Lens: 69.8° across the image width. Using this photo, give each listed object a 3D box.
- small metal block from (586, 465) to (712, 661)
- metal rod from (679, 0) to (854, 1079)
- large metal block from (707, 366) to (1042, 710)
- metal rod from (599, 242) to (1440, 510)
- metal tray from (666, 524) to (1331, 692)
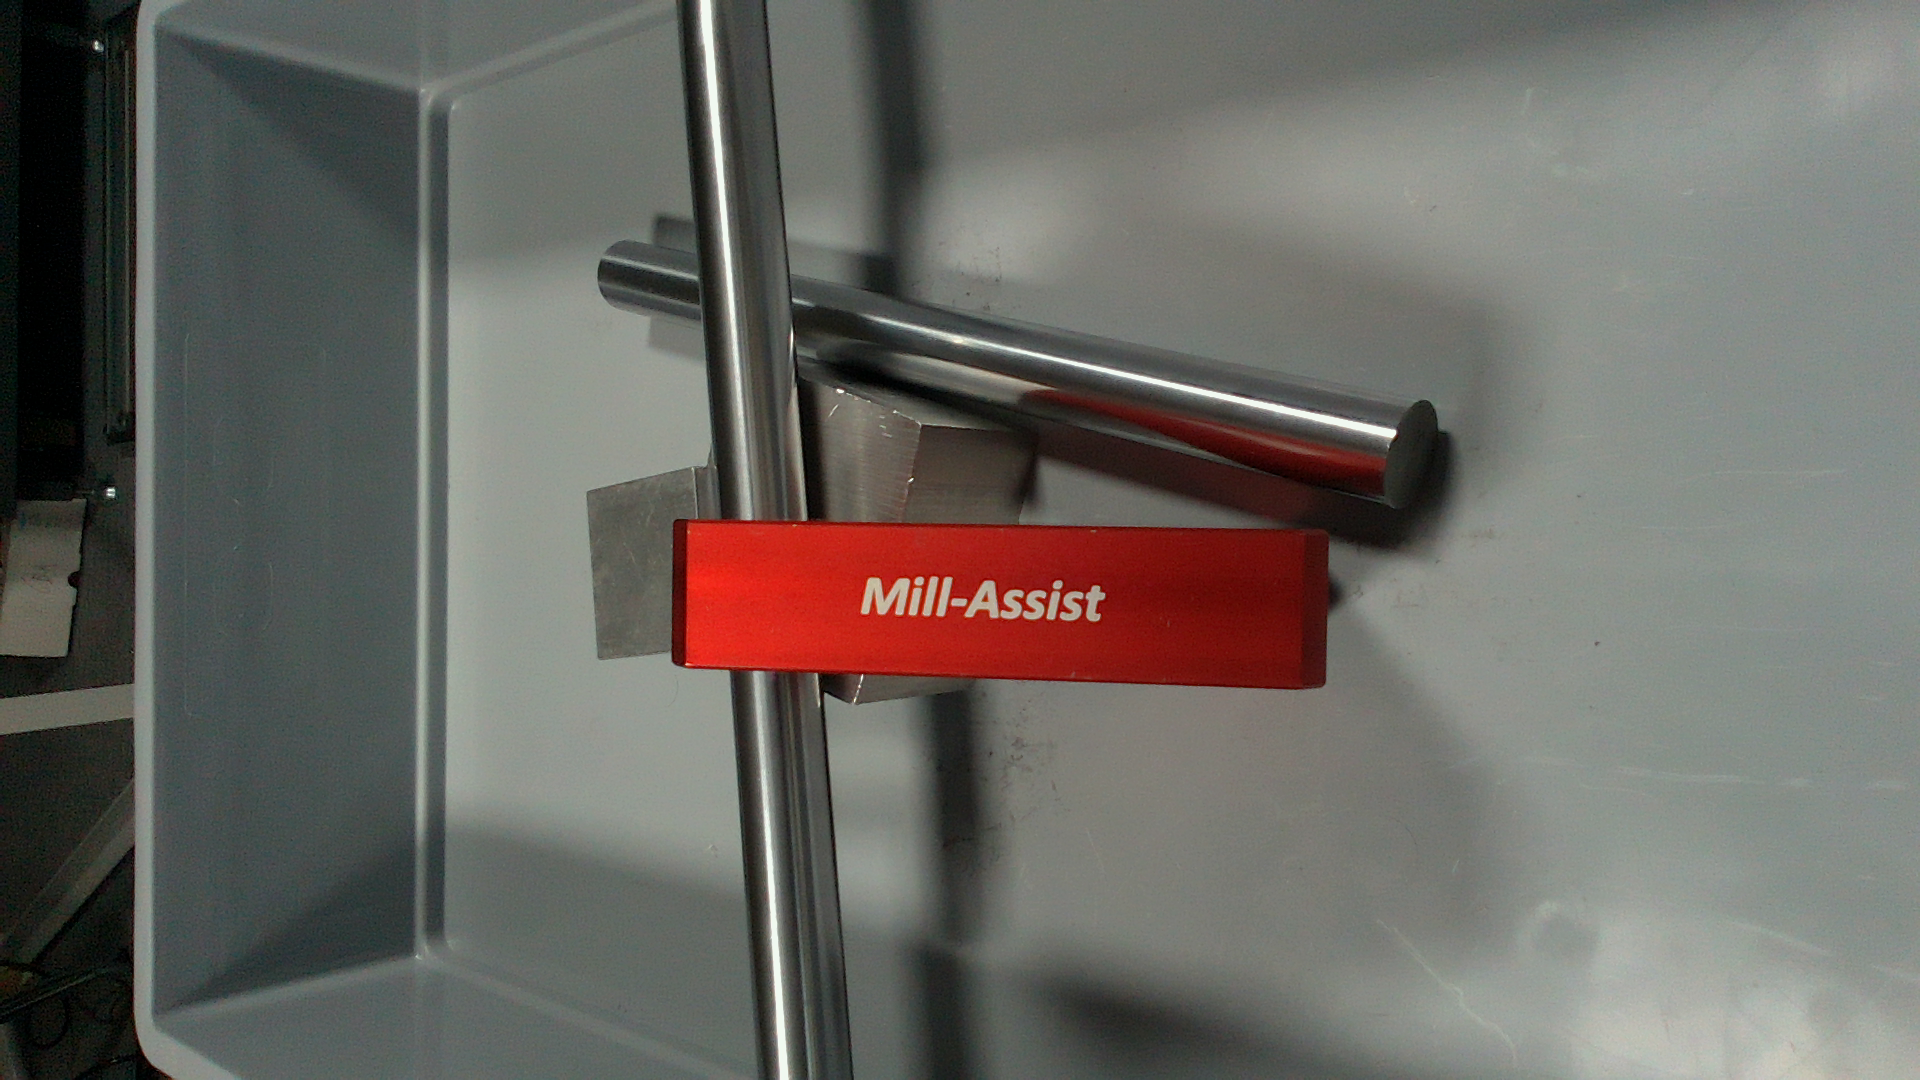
[{"bbox_3d":[-0.081,0.007,0.396,0.050,0.025,0.050,-9,84,40],"label":"small metal block"},{"bbox_3d":[-0.053,-0.003,0.373,0.025,0.025,0.300,-8,85,40],"label":"metal rod"},{"bbox_3d":[-0.031,-0.005,0.404,0.080,0.050,0.080,23,105,38],"label":"large metal block"},{"bbox_3d":[-0.009,-0.057,0.401,0.299,0.025,0.025,19,102,38],"label":"metal rod"},{"bbox_3d":[0.011,0.012,0.307,0.130,0.090,0.030,1,91,9],"label":"metal tray"}]
